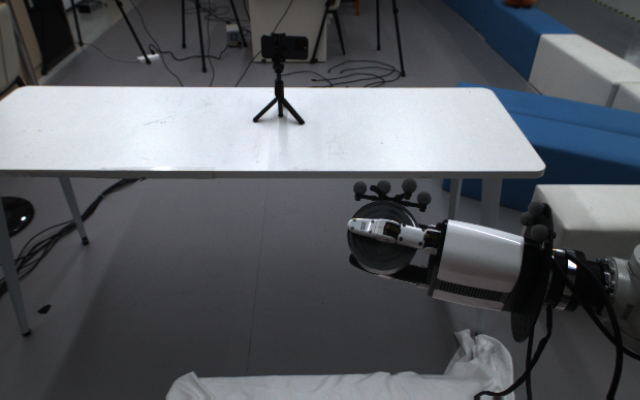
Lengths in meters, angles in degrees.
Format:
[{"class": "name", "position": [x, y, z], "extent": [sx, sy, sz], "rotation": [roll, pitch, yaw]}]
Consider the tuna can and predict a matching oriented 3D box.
[{"class": "tuna can", "position": [0.078, 0.043, 0.584], "extent": [0.085, 0.034, 0.085], "rotation": [-2, 70, 7]}]
